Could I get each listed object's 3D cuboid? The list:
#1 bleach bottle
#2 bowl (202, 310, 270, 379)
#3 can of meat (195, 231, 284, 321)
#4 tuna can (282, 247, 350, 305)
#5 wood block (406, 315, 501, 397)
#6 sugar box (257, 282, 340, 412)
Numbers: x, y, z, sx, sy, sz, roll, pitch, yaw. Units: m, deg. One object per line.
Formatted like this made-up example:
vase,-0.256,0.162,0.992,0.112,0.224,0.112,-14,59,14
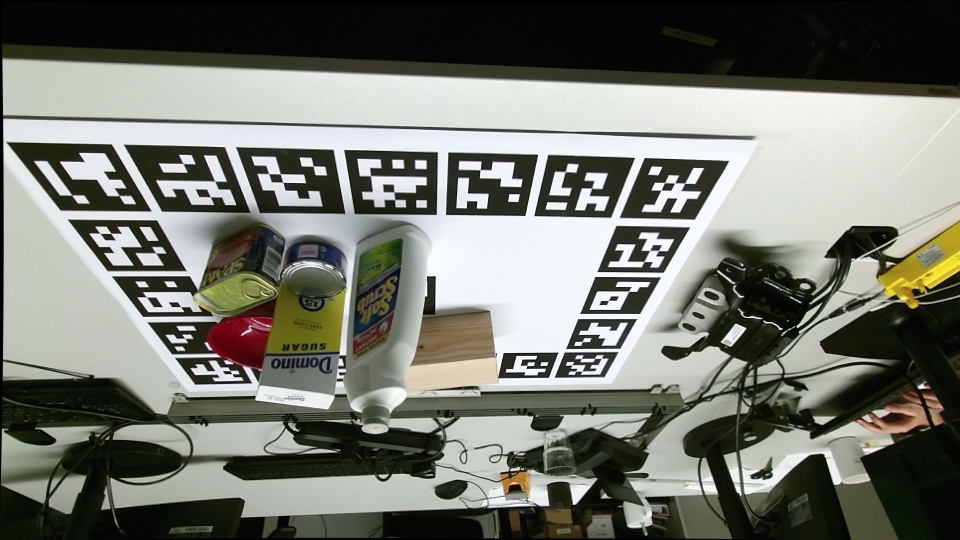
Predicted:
bleach bottle,-0.111,0.073,0.648,0.103,0.249,0.068,-18,140,14
bowl,-0.331,0.106,0.819,0.162,0.055,0.162,-6,142,-5
can of meat,-0.302,0.007,0.683,0.102,0.083,0.058,-19,142,19
tuna can,-0.220,0.008,0.722,0.086,0.033,0.086,-4,138,-3
wood block,-0.074,0.143,0.870,0.207,0.089,0.091,-6,137,3
sugar box,-0.241,0.102,0.724,0.093,0.175,0.045,11,136,-24
